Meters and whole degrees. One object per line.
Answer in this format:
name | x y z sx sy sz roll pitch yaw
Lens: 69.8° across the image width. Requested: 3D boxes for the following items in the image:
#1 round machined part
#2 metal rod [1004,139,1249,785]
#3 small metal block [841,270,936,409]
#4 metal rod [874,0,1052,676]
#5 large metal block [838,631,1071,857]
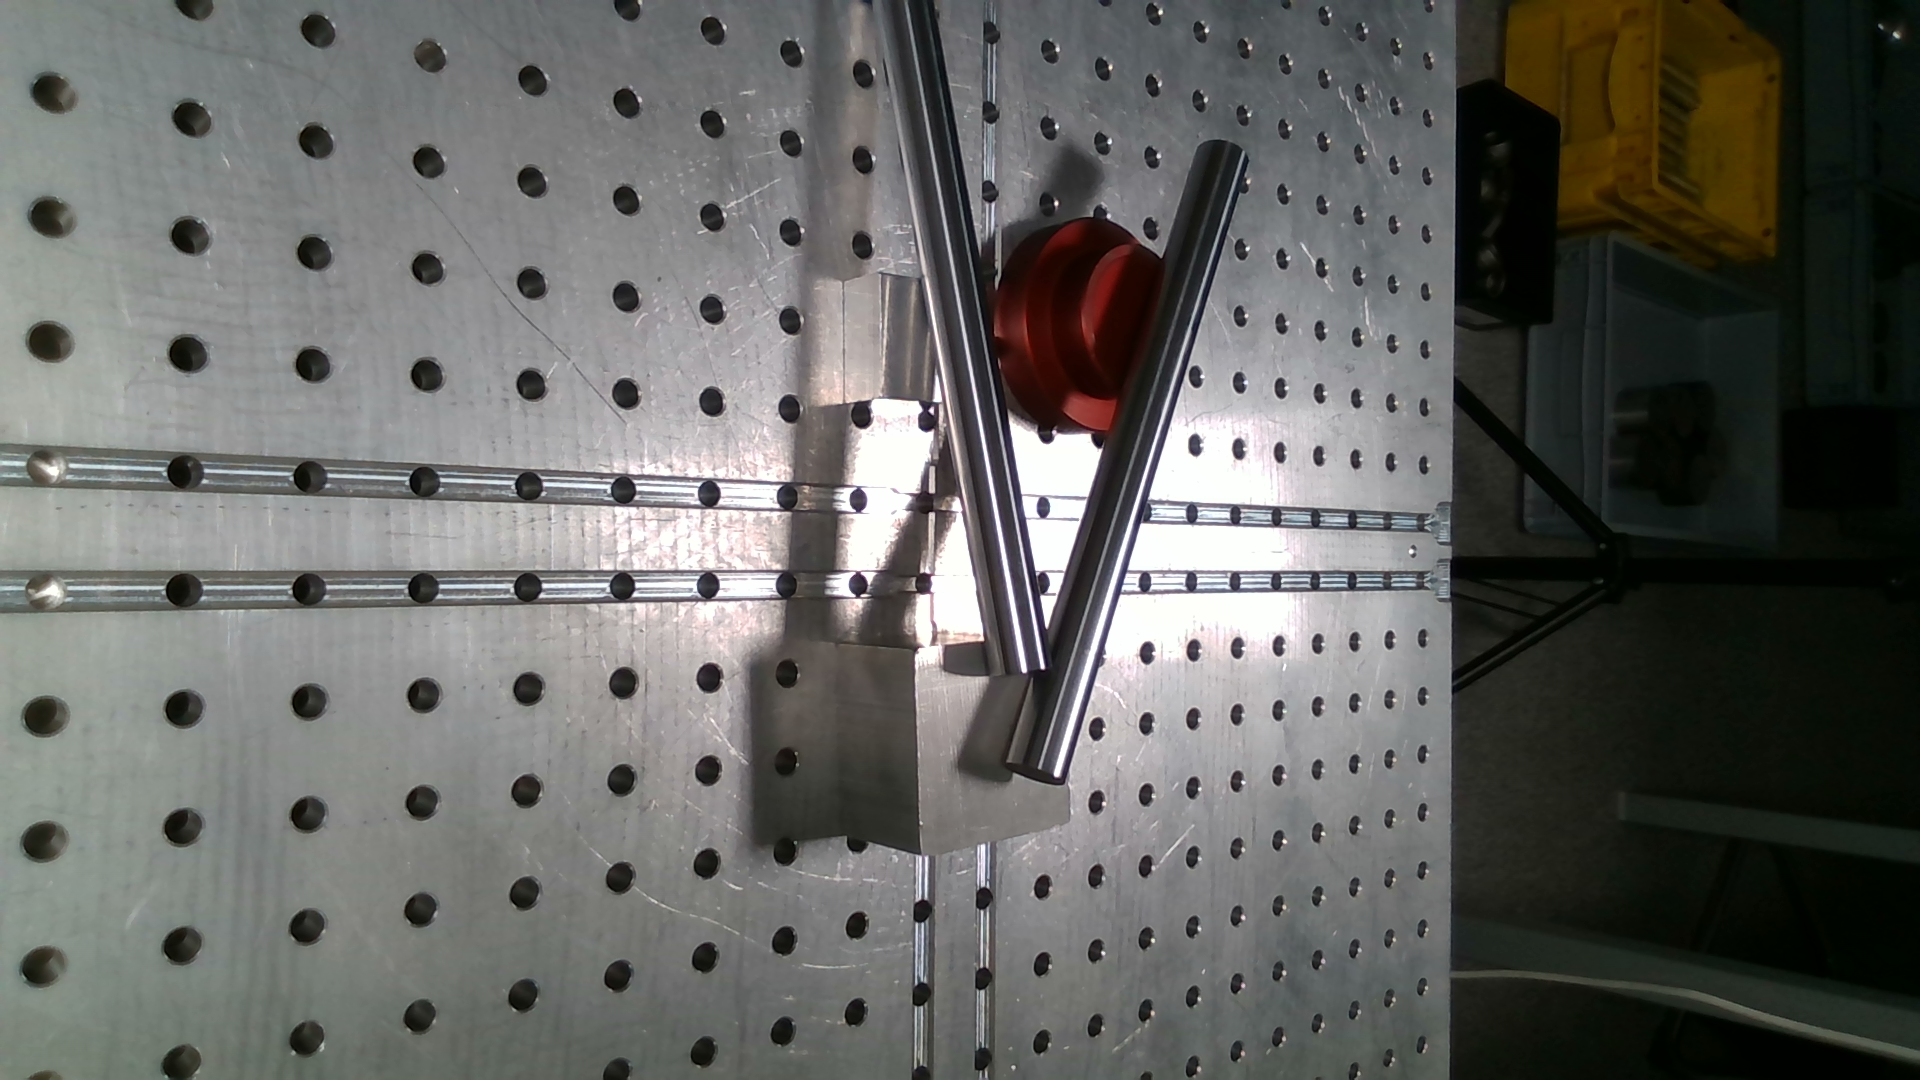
round machined part | 0.065 -0.099 0.629 0.098 0.042 0.098 0 90 -40
metal rod | 0.075 -0.042 0.587 0.025 0.025 0.299 33 67 -35
small metal block | -0.021 -0.081 0.569 0.050 0.025 0.050 -1 90 -40
metal rod | -0.002 -0.096 0.549 0.025 0.025 0.300 -5 83 -40
large metal block | -0.002 0.079 0.565 0.080 0.050 0.080 -3 92 -40
